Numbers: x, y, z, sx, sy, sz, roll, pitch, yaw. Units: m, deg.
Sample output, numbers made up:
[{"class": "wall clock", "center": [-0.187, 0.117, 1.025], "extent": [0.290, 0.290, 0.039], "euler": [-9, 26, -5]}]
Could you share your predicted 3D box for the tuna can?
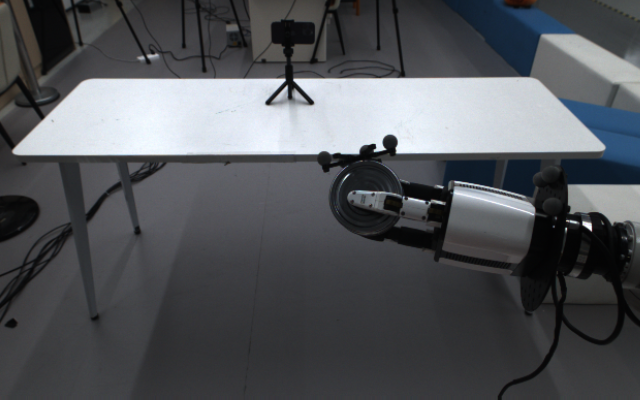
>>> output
[{"class": "tuna can", "center": [0.057, -0.004, 0.559], "extent": [0.085, 0.085, 0.034], "euler": [12, -6, 14]}]
